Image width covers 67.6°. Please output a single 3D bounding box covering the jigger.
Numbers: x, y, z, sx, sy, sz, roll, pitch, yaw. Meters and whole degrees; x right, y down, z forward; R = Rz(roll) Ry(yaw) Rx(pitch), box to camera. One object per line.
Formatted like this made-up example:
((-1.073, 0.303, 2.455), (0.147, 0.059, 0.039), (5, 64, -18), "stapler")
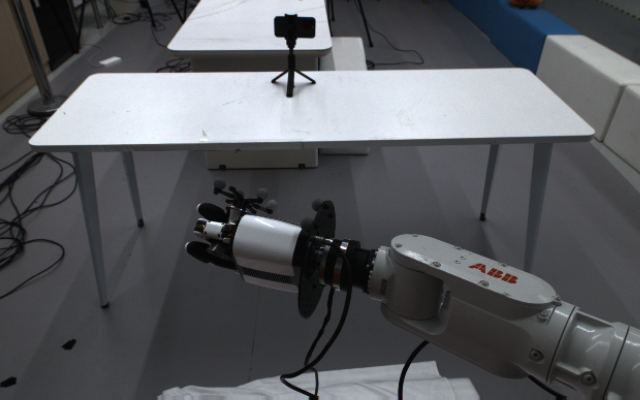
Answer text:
((-0.123, 0.047, 0.677), (0.043, 0.043, 0.071), (13, 70, 16), "jigger")
